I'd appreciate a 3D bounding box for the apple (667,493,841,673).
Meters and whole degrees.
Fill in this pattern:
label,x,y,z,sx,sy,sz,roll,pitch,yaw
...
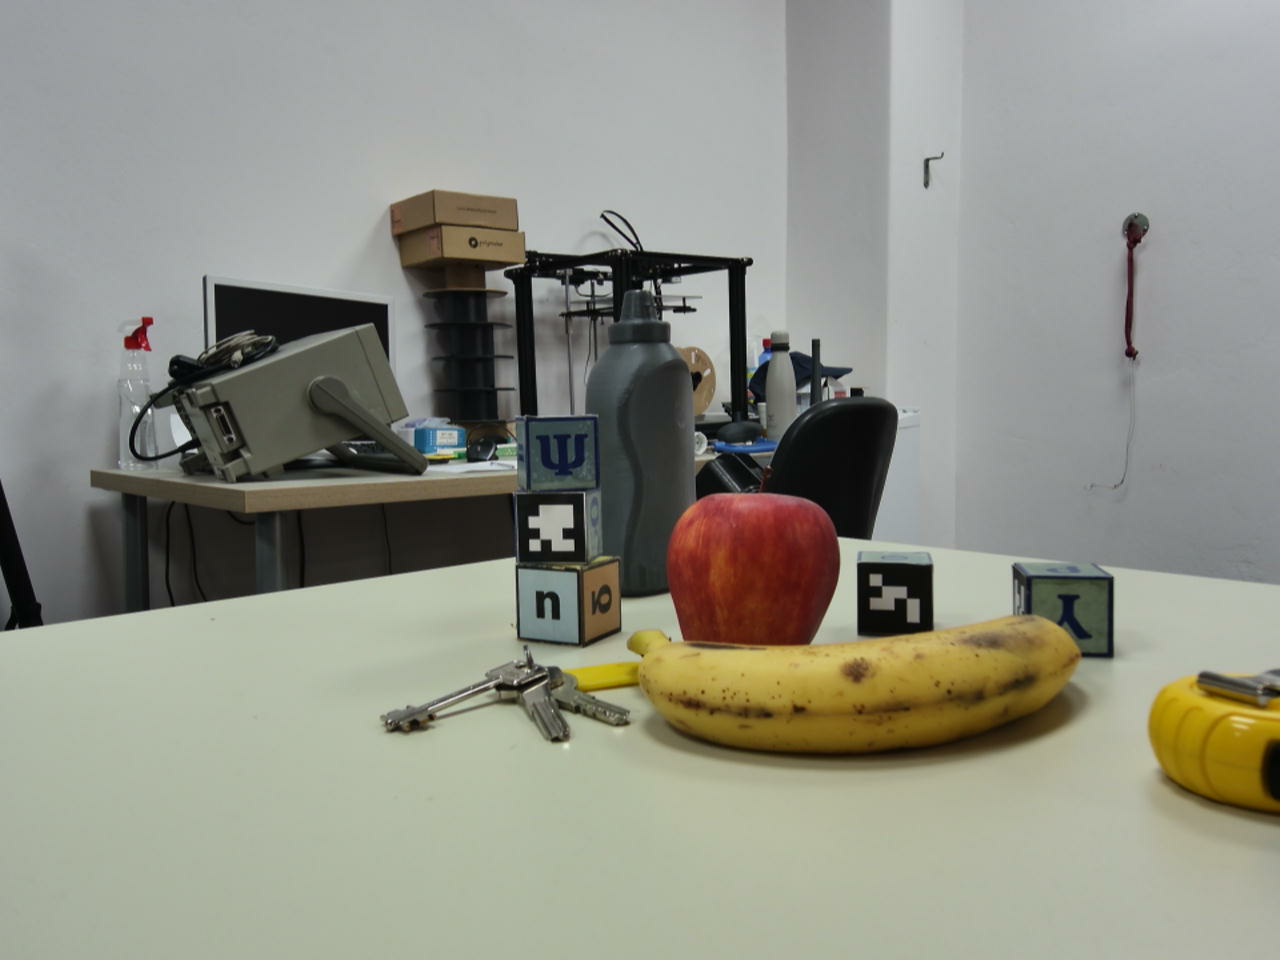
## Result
label,x,y,z,sx,sy,sz,roll,pitch,yaw
apple,0.054,0.040,0.468,0.083,0.090,0.083,0,3,0
